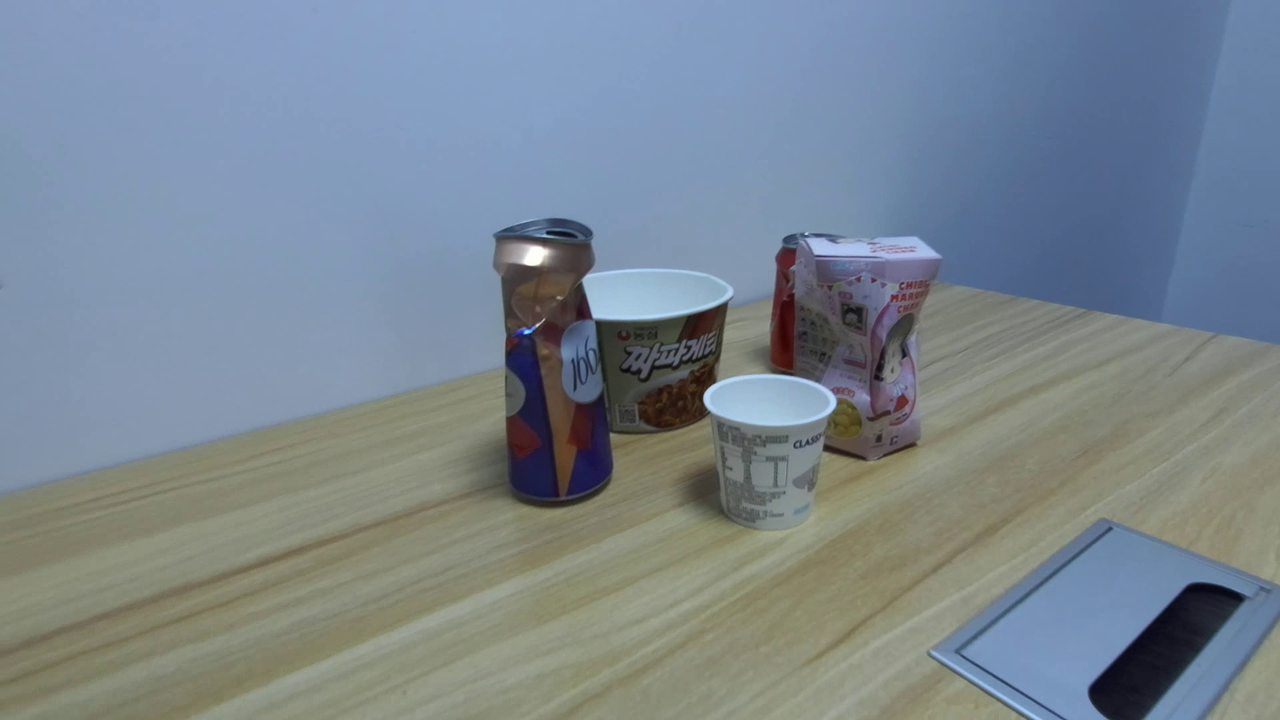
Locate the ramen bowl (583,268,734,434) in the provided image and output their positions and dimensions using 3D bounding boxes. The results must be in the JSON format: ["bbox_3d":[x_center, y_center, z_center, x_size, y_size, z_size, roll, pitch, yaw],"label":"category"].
[{"bbox_3d":[0.000,-0.008,0.538,0.140,0.095,0.140,-2,19,1],"label":"ramen bowl"}]

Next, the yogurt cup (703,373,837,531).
[{"bbox_3d":[0.071,0.052,0.395,0.072,0.068,0.072,-2,21,1],"label":"yogurt cup"}]

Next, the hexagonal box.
[{"bbox_3d":[0.143,-0.010,0.467,0.093,0.134,0.089,9,21,25],"label":"hexagonal box"}]

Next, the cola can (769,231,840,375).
[{"bbox_3d":[0.144,-0.046,0.591,0.066,0.117,0.066,-6,20,-8],"label":"cola can"}]

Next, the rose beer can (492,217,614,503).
[{"bbox_3d":[-0.053,0.002,0.420,0.068,0.162,0.073,-11,23,-23],"label":"rose beer can"}]
